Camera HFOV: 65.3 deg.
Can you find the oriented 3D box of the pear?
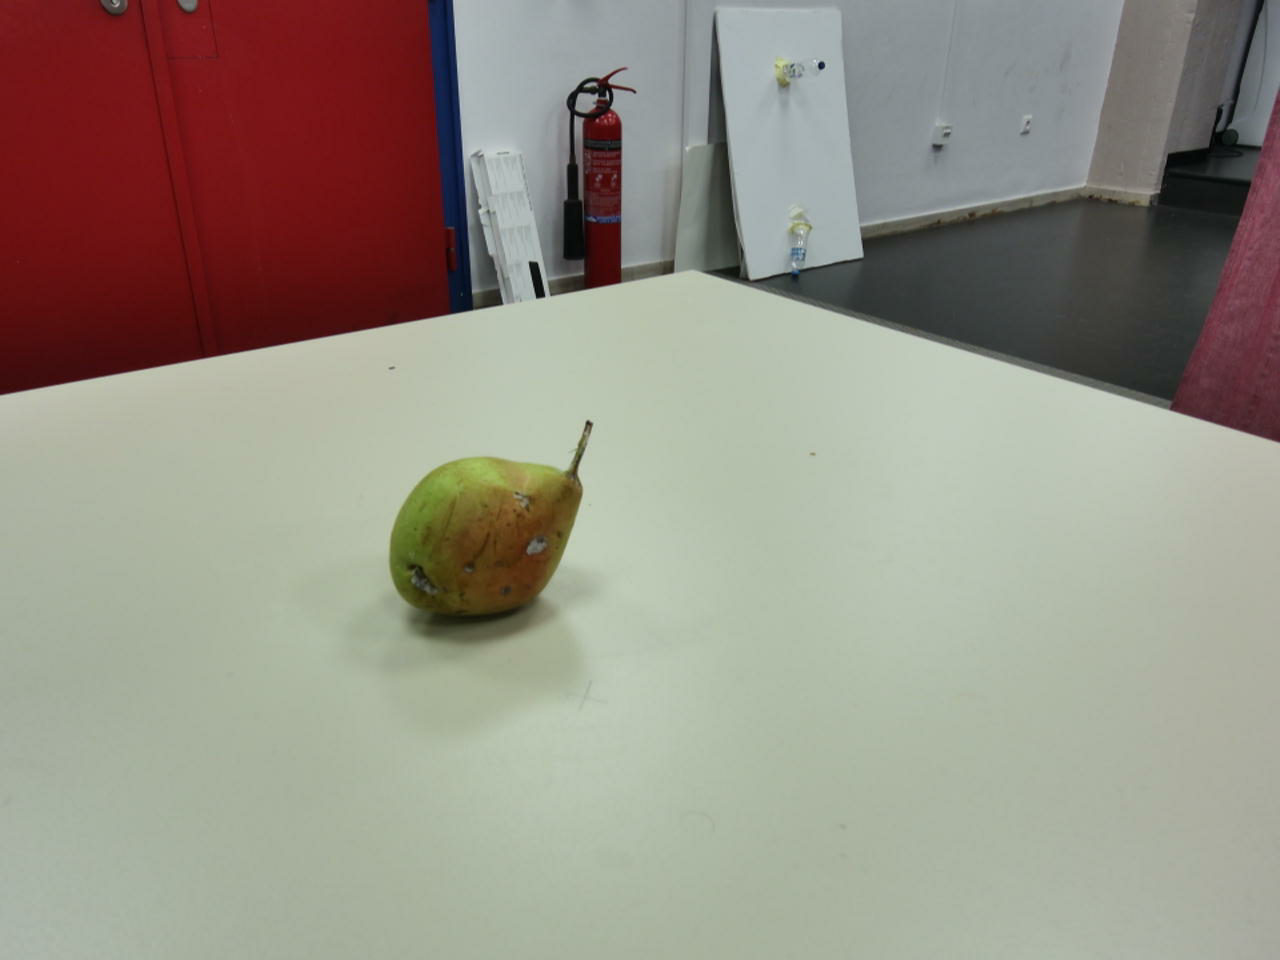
[{"bbox_3d":[-0.060,0.018,0.391,0.070,0.069,0.068,5,24,11],"label":"pear"}]
